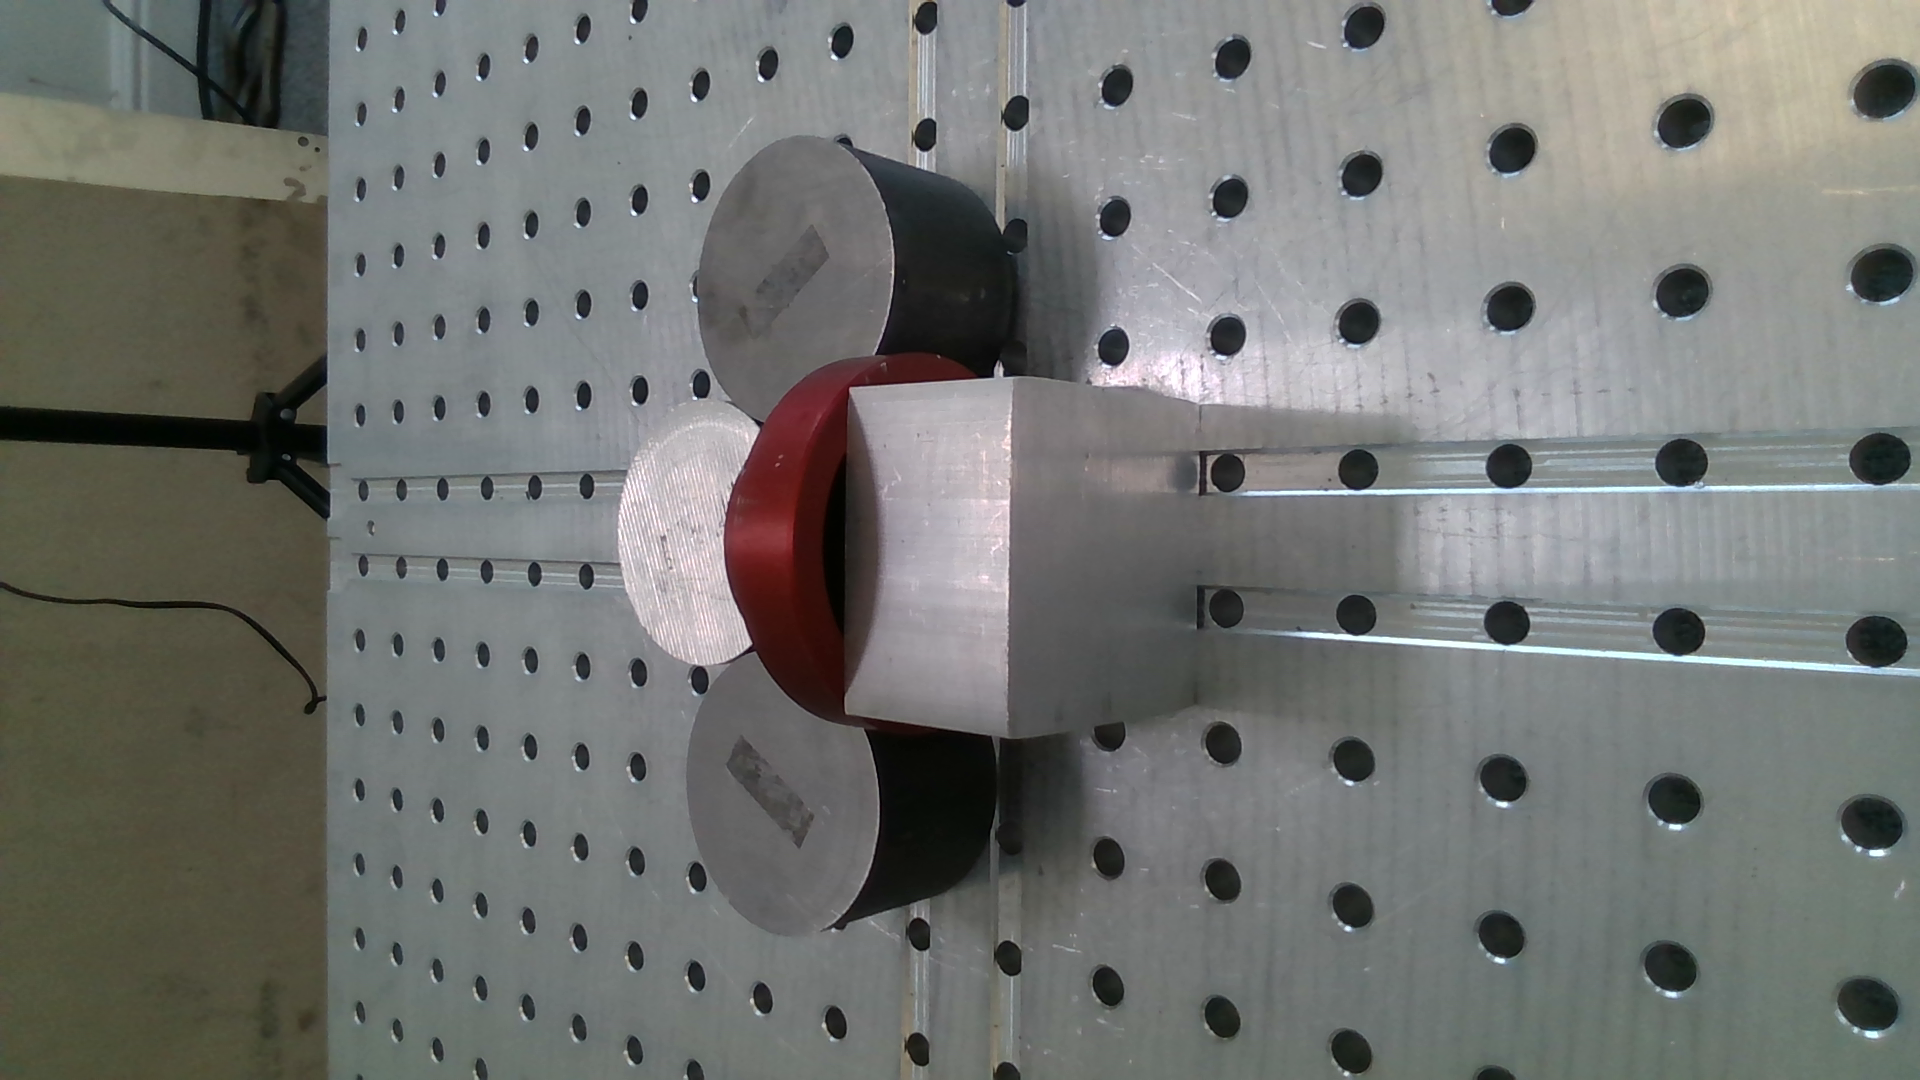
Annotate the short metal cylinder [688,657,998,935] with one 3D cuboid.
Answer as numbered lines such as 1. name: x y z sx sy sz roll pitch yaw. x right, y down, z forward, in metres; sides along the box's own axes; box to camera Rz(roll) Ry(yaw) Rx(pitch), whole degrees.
1. short metal cylinder: -0.036 0.071 0.409 0.080 0.050 0.080 0 91 40

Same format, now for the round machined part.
1. round machined part: -0.025 0.000 0.365 0.042 0.098 0.098 3 92 40

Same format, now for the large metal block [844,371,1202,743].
1. large metal block: 0.017 0.003 0.343 0.050 0.080 0.080 1 91 40

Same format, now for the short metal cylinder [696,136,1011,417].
1. short metal cylinder: -0.032 -0.072 0.404 0.080 0.050 0.080 0 91 40

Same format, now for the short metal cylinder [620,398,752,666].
1. short metal cylinder: -0.061 -0.002 0.430 0.080 0.050 0.080 0 91 40
